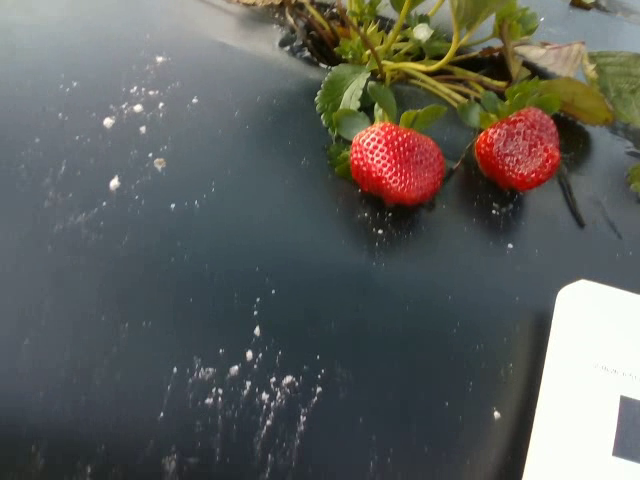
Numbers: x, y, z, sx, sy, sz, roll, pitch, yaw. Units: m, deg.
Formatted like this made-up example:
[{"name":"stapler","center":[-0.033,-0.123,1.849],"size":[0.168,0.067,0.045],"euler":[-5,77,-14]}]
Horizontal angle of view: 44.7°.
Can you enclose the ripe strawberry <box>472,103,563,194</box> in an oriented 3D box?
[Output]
[{"name":"ripe strawberry","center":[0.099,-0.046,0.381],"size":[0.042,0.034,0.053],"euler":[-1,34,-3]}]

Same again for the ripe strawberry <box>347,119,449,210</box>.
[{"name":"ripe strawberry","center":[0.037,-0.034,0.361],"size":[0.050,0.045,0.061],"euler":[5,31,-1]}]
